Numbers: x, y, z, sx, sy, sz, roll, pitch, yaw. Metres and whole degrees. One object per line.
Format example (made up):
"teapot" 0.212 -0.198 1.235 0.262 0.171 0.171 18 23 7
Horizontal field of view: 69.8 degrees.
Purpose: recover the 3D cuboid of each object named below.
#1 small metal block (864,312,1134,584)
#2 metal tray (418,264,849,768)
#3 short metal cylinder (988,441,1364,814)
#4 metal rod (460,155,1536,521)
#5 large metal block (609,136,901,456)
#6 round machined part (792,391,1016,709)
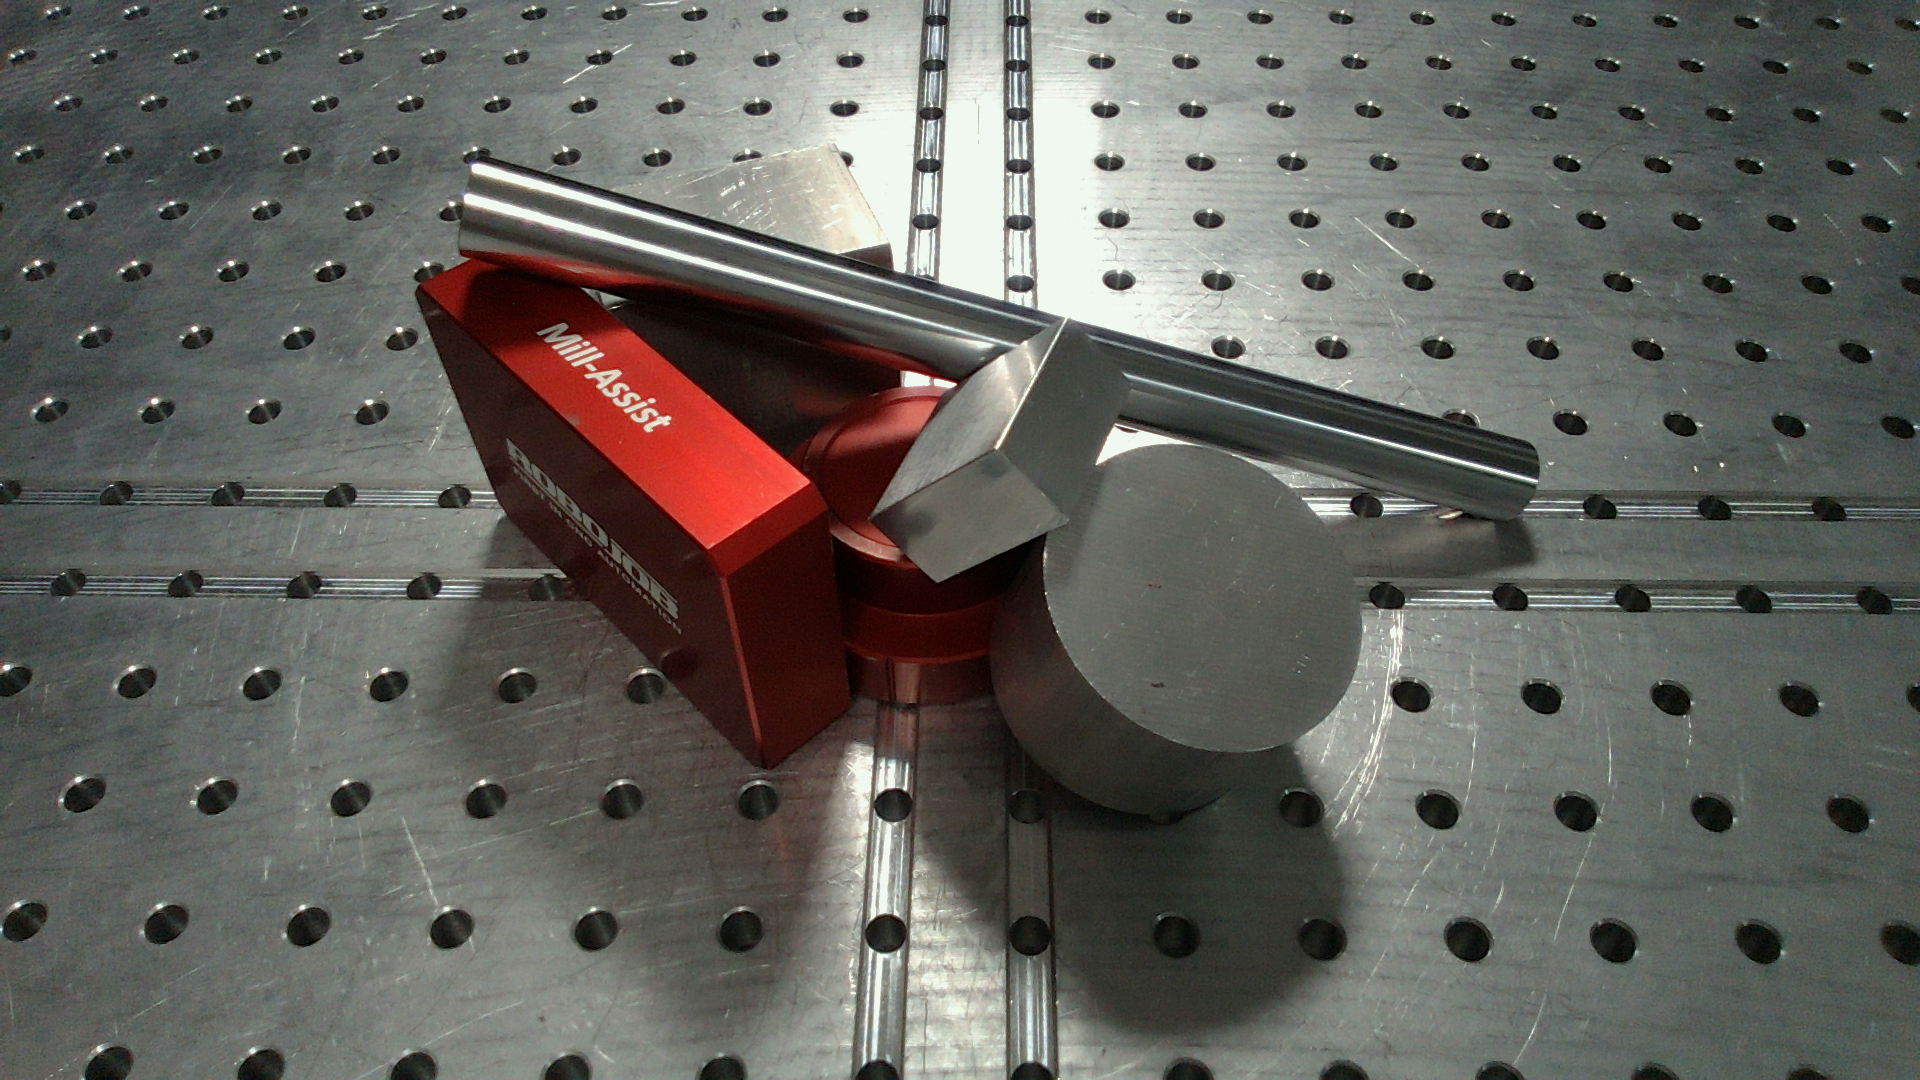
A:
"small metal block" 0.010 -0.022 0.340 0.025 0.050 0.050 44 49 -19
"metal tray" -0.085 -0.010 0.360 0.030 0.090 0.130 -36 58 -26
"short metal cylinder" 0.052 0.023 0.344 0.080 0.050 0.080 7 62 -13
"metal rod" 0.023 -0.050 0.374 0.301 0.025 0.025 13 48 -15
"large metal block" -0.065 -0.064 0.411 0.080 0.080 0.050 -17 52 -13
"round machined part" -0.010 -0.004 0.391 0.098 0.042 0.098 0 50 0
